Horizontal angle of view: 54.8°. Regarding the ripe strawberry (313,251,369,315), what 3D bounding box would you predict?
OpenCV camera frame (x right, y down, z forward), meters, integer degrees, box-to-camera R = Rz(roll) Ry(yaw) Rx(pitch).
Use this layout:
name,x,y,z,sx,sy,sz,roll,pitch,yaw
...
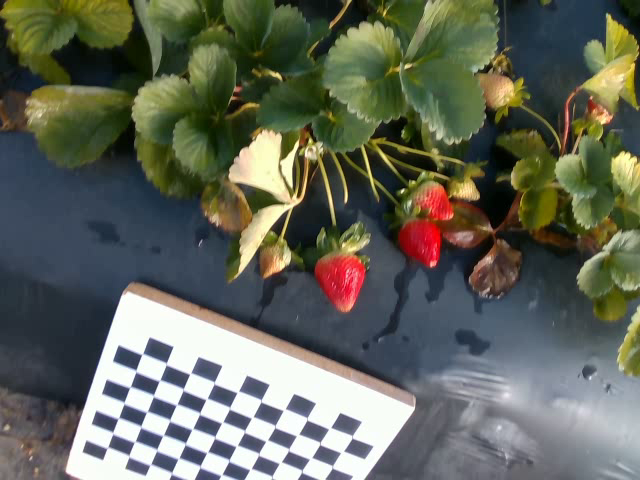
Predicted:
name,x,y,z,sx,sy,sz,roll,pitch,yaw
ripe strawberry,0.019,0.041,0.552,0.050,0.065,0.050,-11,-29,16

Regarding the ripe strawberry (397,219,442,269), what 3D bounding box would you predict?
name,x,y,z,sx,sy,sz,roll,pitch,yaw
ripe strawberry,0.095,0.006,0.568,0.044,0.055,0.041,-35,-33,24
